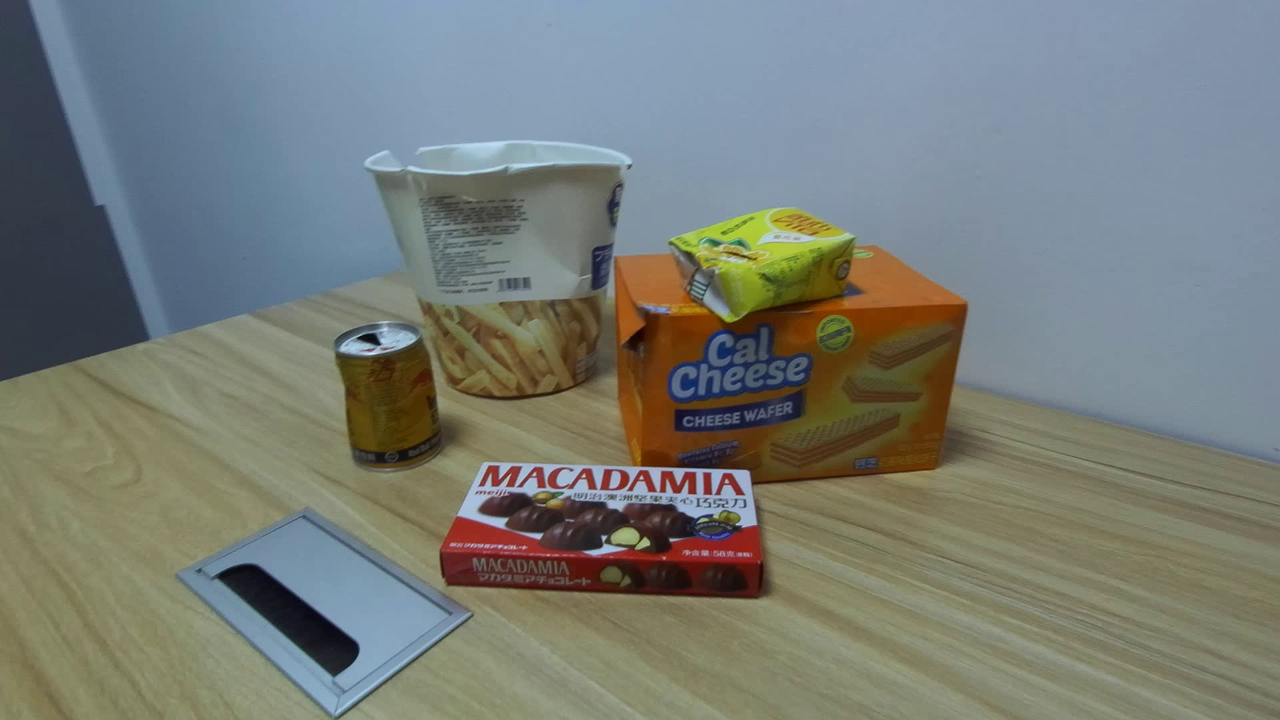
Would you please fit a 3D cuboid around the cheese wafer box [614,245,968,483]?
[{"bbox_3d":[0.095,-0.004,0.526,0.227,0.137,0.149,-3,25,-8],"label":"cheese wafer box"}]

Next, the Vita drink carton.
[{"bbox_3d":[0.079,-0.062,0.460,0.108,0.042,0.086,-16,36,-25],"label":"Vita drink carton"}]

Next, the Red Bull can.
[{"bbox_3d":[-0.183,0.026,0.514,0.068,0.093,0.068,-1,23,1],"label":"Red Bull can"}]

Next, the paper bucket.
[{"bbox_3d":[-0.118,-0.085,0.629,0.203,0.197,0.145,-9,25,-18],"label":"paper bucket"}]

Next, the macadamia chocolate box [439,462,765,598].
[{"bbox_3d":[-0.019,0.100,0.431,0.178,0.027,0.095,1,23,4],"label":"macadamia chocolate box"}]
